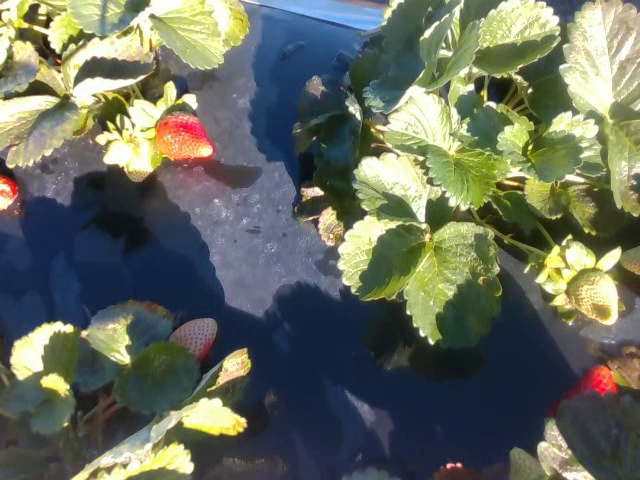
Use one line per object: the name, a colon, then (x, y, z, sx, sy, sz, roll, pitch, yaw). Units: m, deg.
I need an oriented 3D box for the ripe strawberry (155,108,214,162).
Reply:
ripe strawberry: (-0.109, -0.083, 0.508, 0.064, 0.050, 0.052, 27, 16, 28)
